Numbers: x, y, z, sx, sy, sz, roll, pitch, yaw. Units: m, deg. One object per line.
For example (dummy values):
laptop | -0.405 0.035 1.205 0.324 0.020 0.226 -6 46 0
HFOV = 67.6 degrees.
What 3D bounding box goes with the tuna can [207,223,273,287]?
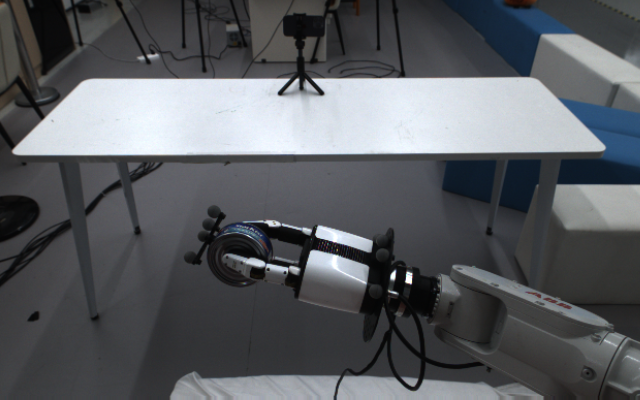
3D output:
tuna can | -0.106 0.079 0.660 0.085 0.085 0.034 4 21 2
